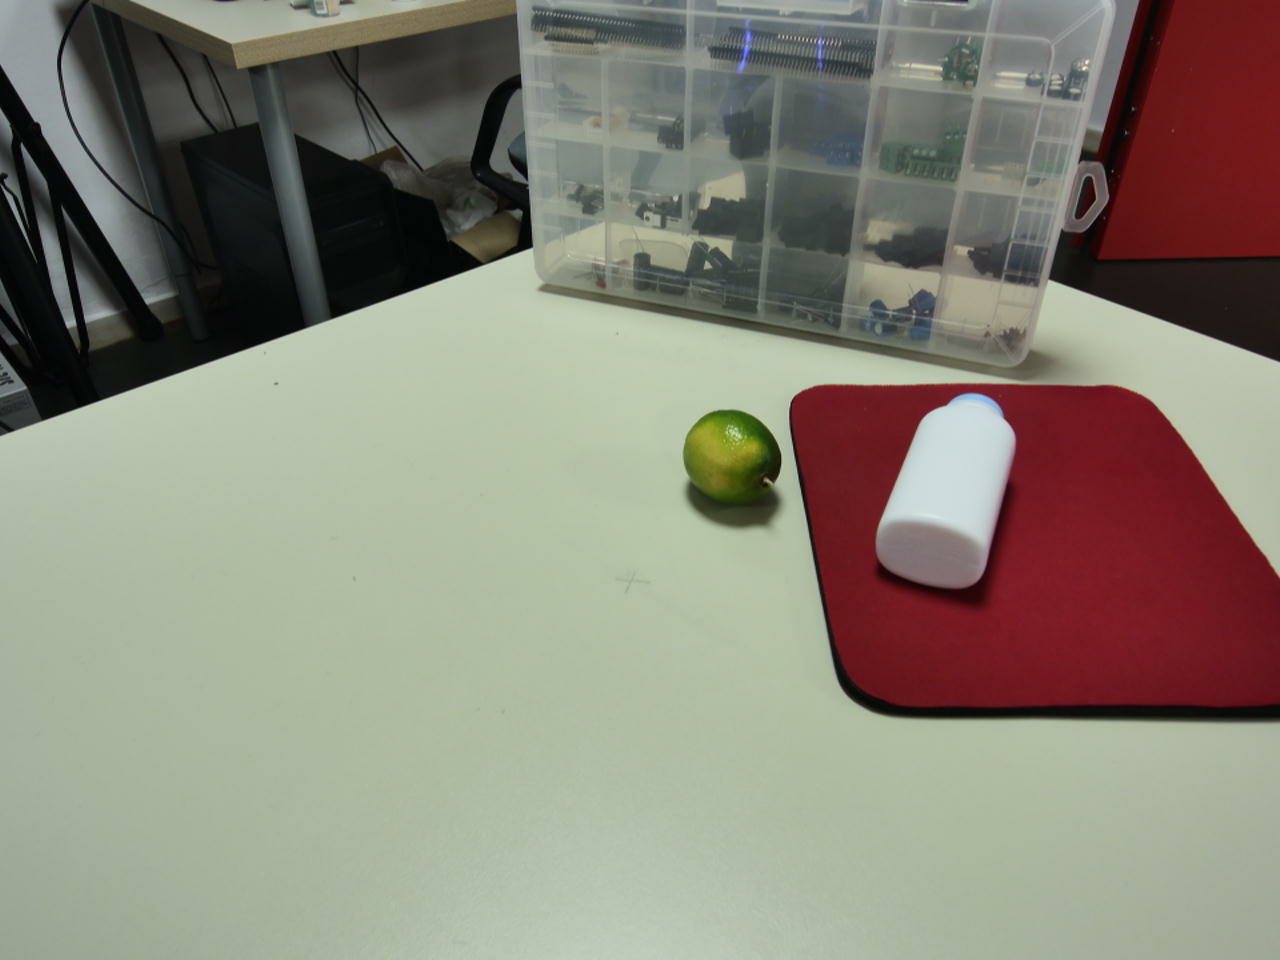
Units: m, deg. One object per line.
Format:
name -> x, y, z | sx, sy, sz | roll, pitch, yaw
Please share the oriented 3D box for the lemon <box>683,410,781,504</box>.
lemon -> 0.051, -0.013, 0.554 | 0.054, 0.050, 0.055 | 6, 36, 8
